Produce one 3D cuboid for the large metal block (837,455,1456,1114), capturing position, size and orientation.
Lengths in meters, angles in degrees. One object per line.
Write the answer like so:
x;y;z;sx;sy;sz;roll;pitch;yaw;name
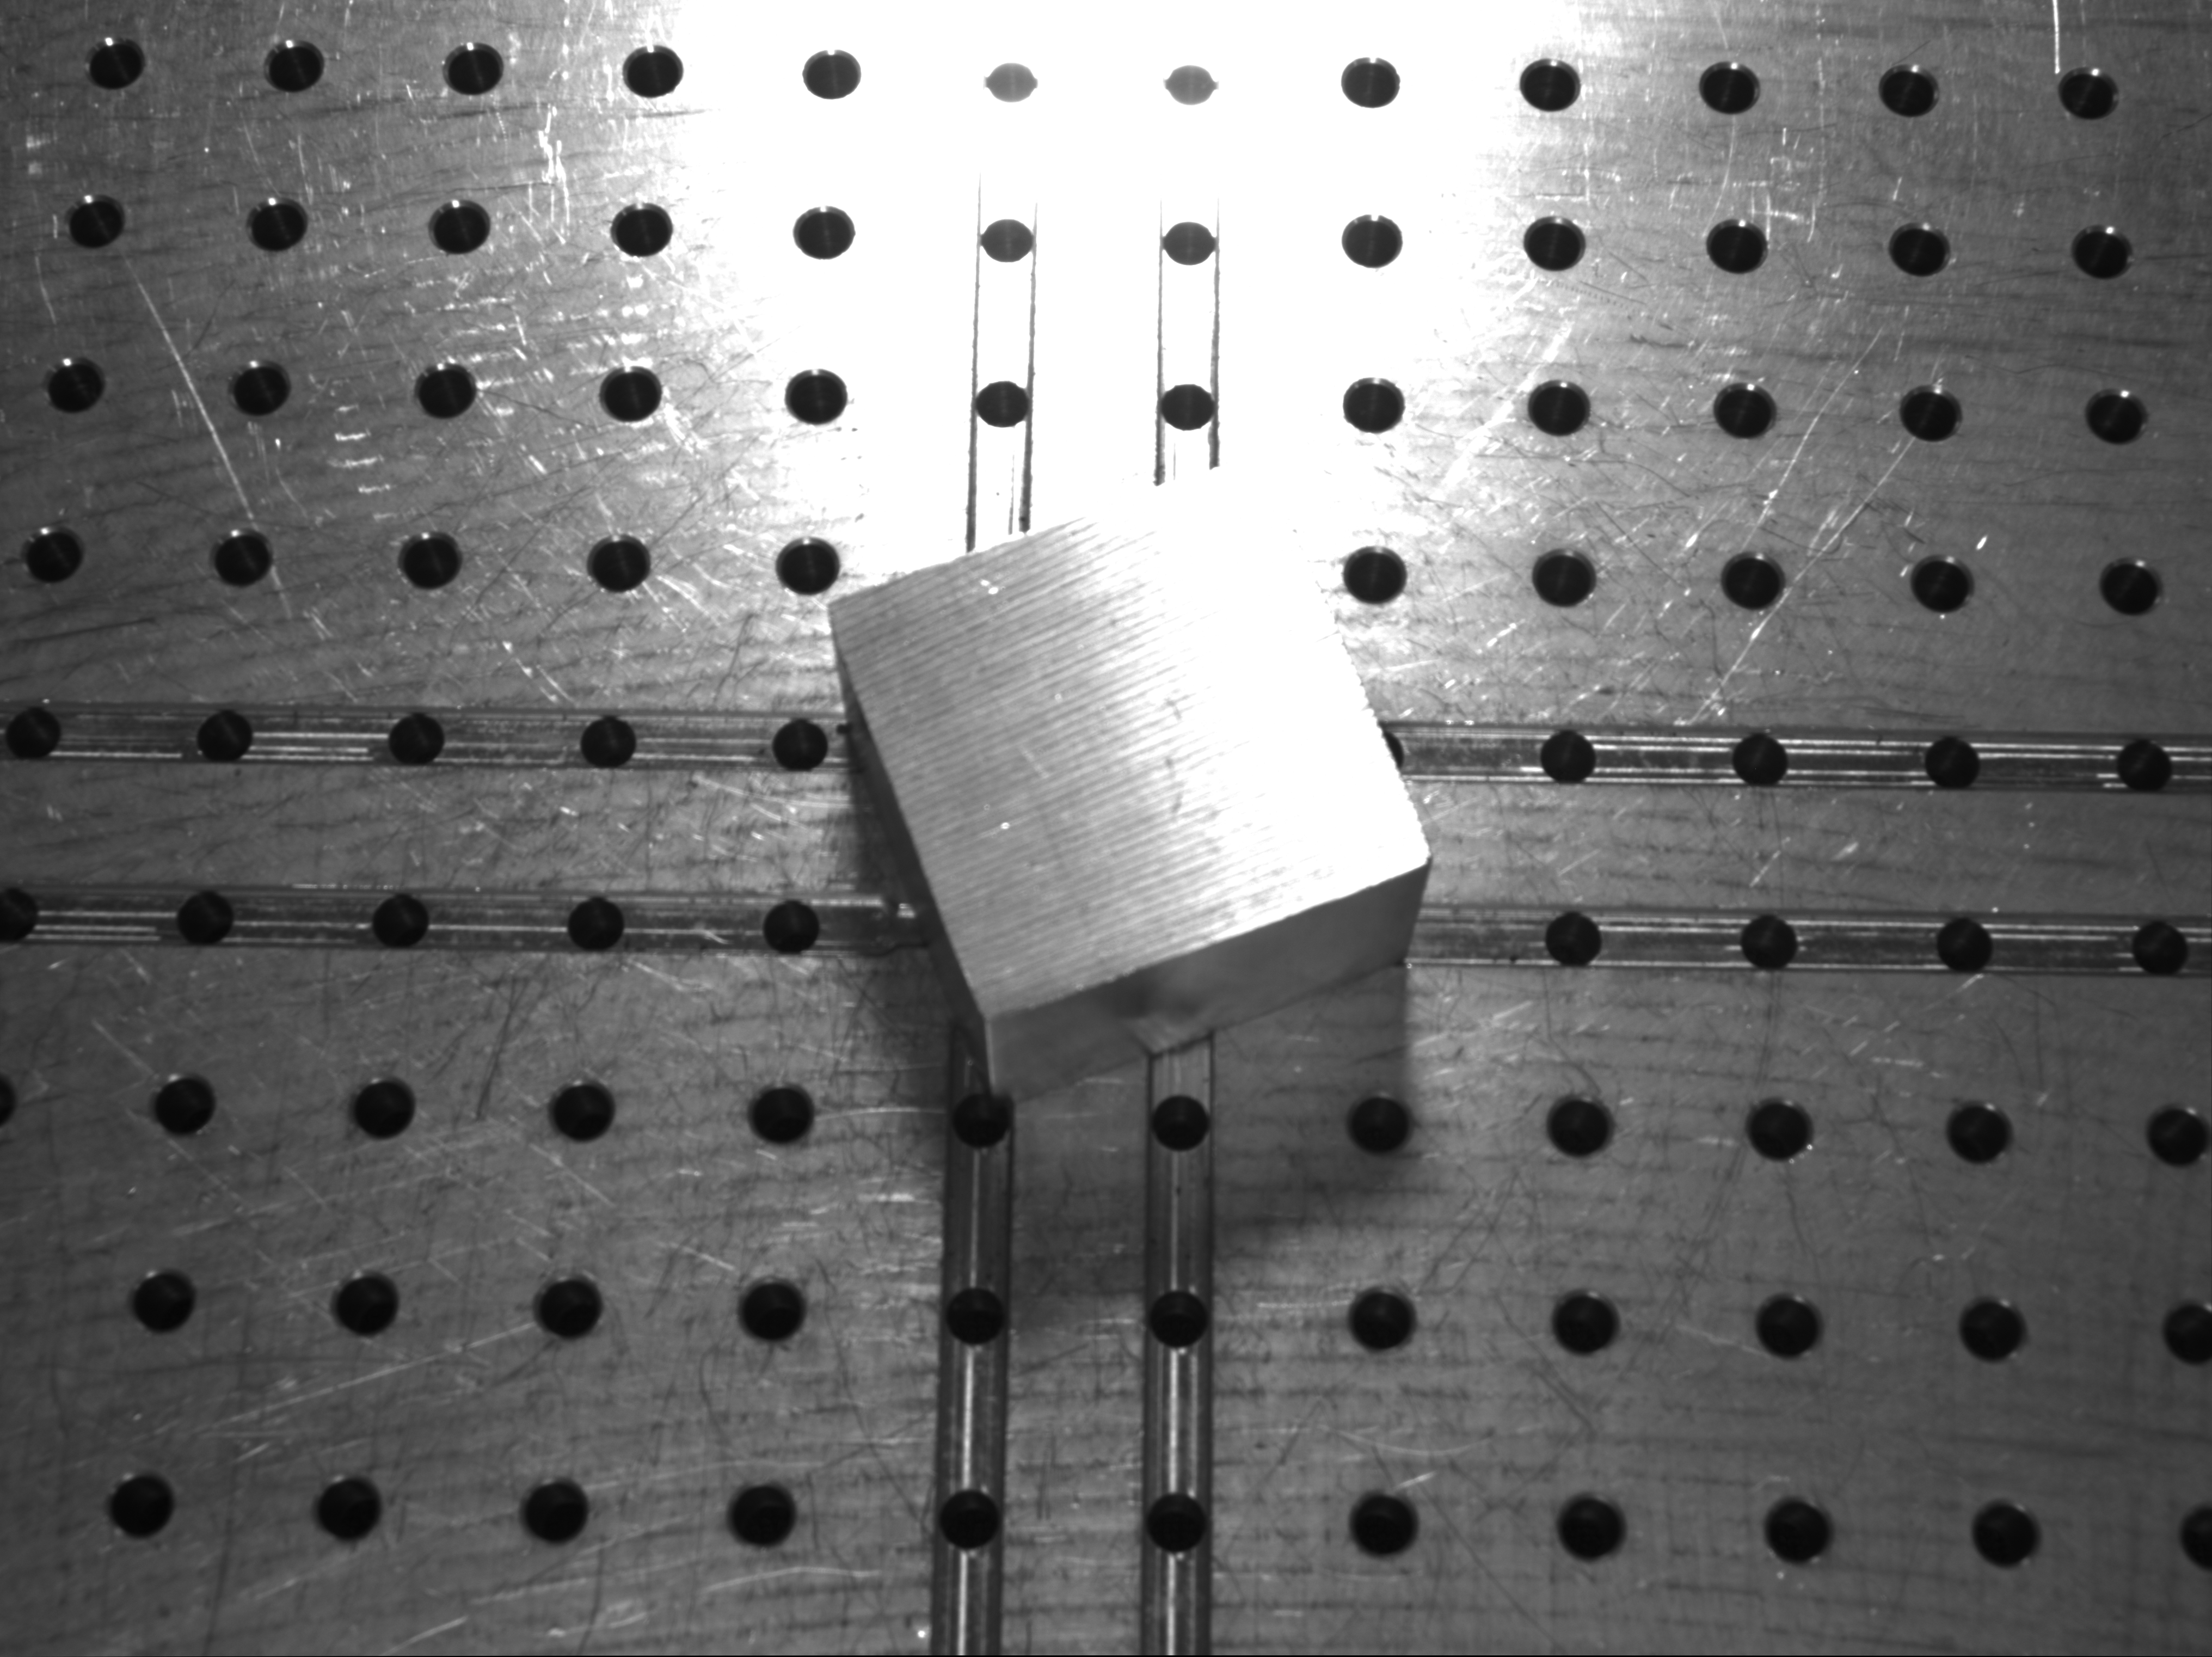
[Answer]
0.006;-0.007;0.634;0.080;0.050;0.080;-20;71;-7;large metal block
